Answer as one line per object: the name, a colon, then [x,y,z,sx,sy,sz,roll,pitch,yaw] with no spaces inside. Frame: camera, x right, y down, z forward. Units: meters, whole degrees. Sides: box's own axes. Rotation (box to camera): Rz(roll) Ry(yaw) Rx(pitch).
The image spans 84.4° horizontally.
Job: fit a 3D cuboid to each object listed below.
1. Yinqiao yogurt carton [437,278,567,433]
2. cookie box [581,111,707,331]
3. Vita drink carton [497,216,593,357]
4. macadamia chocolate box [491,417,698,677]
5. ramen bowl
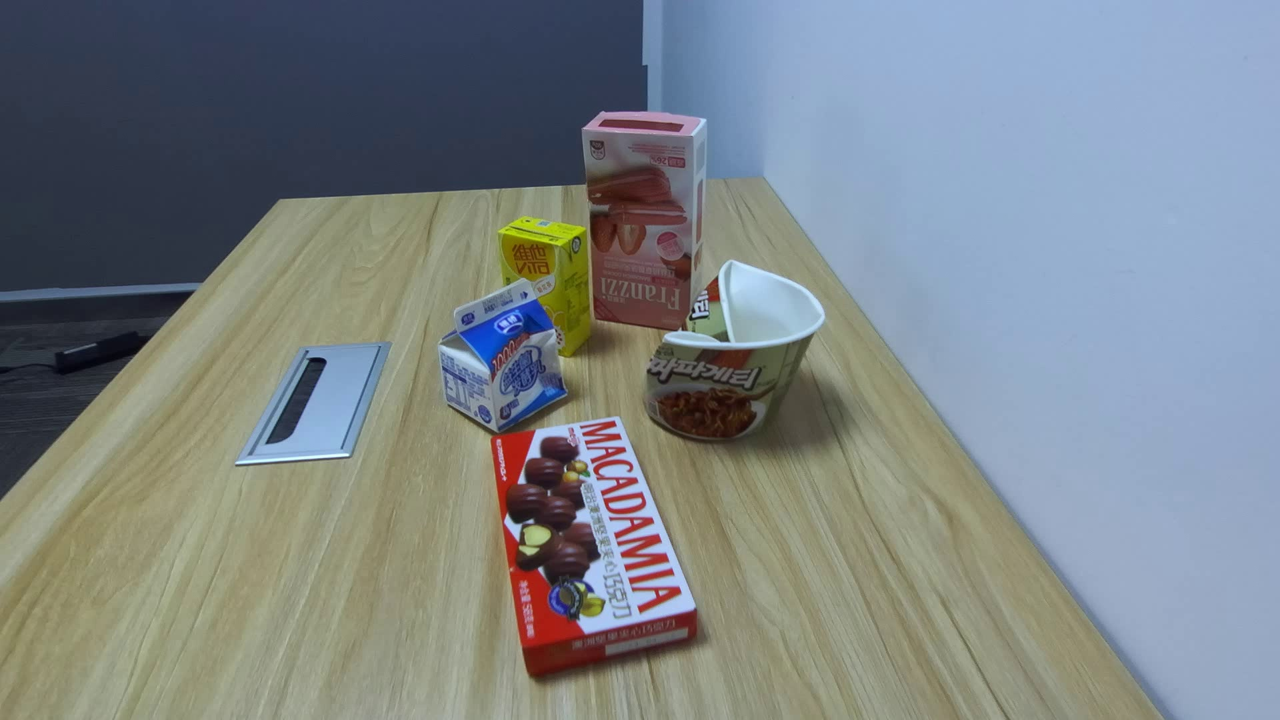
Yinqiao yogurt carton: [-0.107,-0.007,0.547,0.070,0.094,0.078,23,39,40]
cookie box: [0.003,-0.120,0.627,0.105,0.188,0.049,10,35,16]
Vita drink carton: [-0.080,-0.064,0.618,0.066,0.109,0.043,16,36,23]
macadamia chocolate box: [-0.036,0.103,0.440,0.096,0.027,0.177,-8,34,-12]
ramen bowl: [0.062,-0.003,0.532,0.137,0.098,0.137,-2,36,1]
